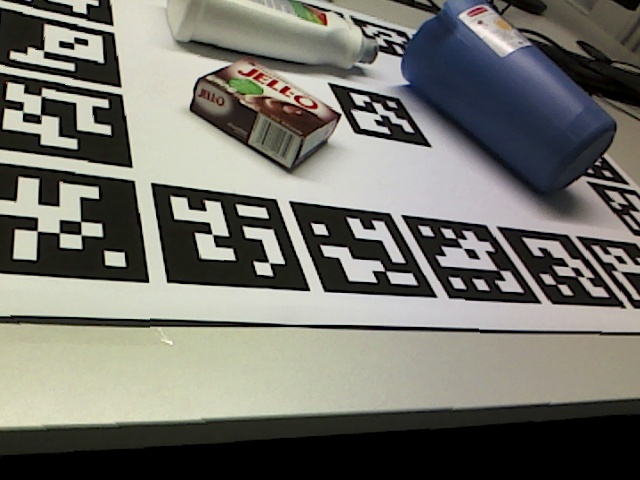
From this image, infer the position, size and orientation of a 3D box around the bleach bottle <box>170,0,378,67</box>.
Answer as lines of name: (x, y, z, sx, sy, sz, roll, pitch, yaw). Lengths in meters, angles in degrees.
bleach bottle: (-0.039, -0.243, 0.715, 0.249, 0.068, 0.103, 4, 47, -31)

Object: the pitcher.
pitcher: (0.227, -0.159, 0.751, 0.243, 0.133, 0.188, 52, 9, 21)

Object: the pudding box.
pudding box: (-0.046, -0.120, 0.577, 0.114, 0.039, 0.090, 35, 32, 8)
